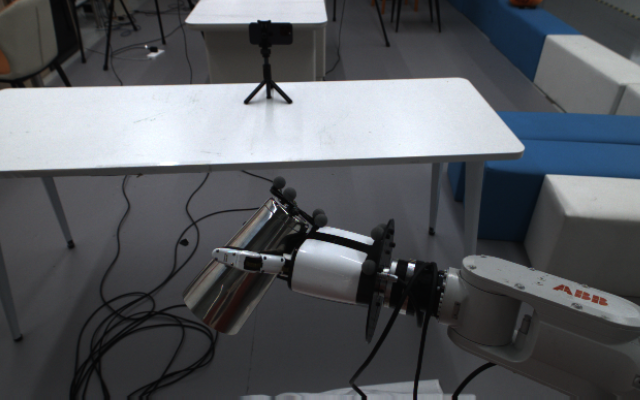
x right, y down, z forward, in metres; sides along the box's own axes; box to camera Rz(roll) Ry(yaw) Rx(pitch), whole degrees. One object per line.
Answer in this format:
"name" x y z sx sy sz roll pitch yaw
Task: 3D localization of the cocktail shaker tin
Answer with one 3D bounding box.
"cocktail shaker tin" -0.091 0.079 0.641 0.170 0.093 0.093 -50 47 3
